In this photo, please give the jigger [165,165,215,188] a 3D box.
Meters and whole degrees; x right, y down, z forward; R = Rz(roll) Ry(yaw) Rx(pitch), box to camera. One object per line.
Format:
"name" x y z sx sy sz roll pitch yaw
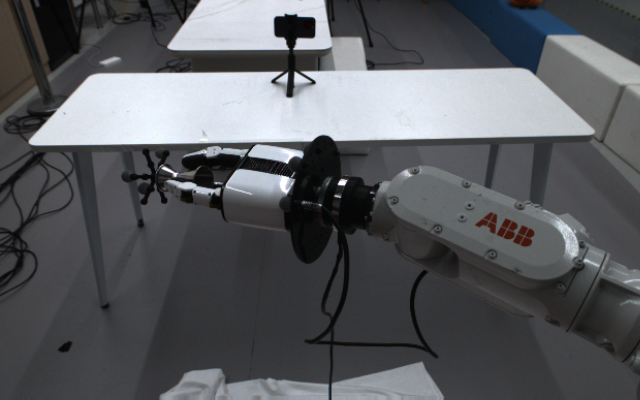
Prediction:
"jigger" -0.180 -0.034 0.671 0.071 0.043 0.043 4 33 23
